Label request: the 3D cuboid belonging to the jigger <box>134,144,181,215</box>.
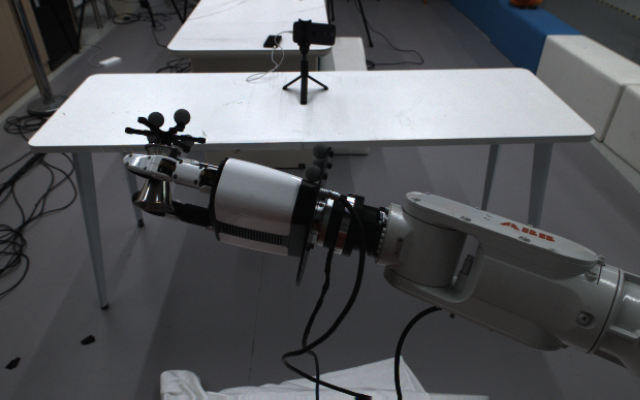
[{"bbox_3d":[-0.180,-0.024,0.542,0.043,0.043,0.071,4,75,2],"label":"jigger"}]
